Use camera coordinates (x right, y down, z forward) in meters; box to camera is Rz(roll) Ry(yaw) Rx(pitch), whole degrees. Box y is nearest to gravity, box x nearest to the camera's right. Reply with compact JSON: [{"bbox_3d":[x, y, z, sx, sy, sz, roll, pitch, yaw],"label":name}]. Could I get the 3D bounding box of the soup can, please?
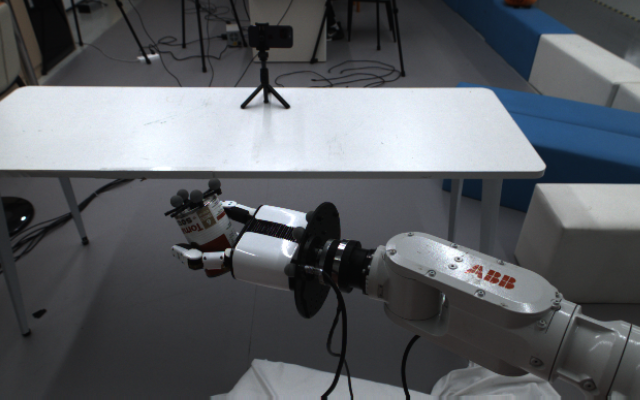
[{"bbox_3d":[-0.155,0.052,0.699,0.067,0.101,0.067,-23,16,7],"label":"soup can"}]
